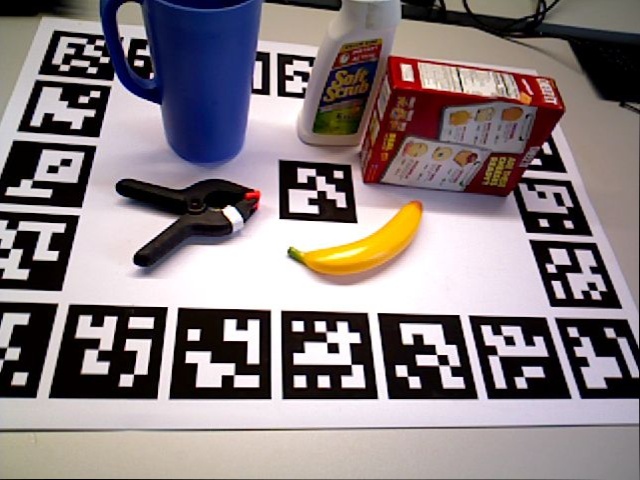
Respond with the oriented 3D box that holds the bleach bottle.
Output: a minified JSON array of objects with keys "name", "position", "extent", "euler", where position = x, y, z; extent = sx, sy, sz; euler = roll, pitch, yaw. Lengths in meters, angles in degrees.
[{"name":"bleach bottle","position":[0.028,-0.223,0.687],"extent":[0.102,0.257,0.067],"euler":[2,53,-10]}]

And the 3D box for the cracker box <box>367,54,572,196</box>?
[{"name":"cracker box","position":[0.181,-0.141,0.692],"extent":[0.212,0.168,0.071],"euler":[2,51,-7]}]

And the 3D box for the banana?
[{"name":"banana","position":[0.069,0.004,0.674],"extent":[0.193,0.040,0.074],"euler":[-29,64,-28]}]

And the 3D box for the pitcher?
[{"name":"pitcher","position":[-0.148,-0.208,0.618],"extent":[0.185,0.248,0.132],"euler":[-13,57,-23]}]

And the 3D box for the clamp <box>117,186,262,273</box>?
[{"name":"clamp","position":[-0.147,-0.027,0.645],"extent":[0.162,0.037,0.121],"euler":[-12,56,-21]}]
